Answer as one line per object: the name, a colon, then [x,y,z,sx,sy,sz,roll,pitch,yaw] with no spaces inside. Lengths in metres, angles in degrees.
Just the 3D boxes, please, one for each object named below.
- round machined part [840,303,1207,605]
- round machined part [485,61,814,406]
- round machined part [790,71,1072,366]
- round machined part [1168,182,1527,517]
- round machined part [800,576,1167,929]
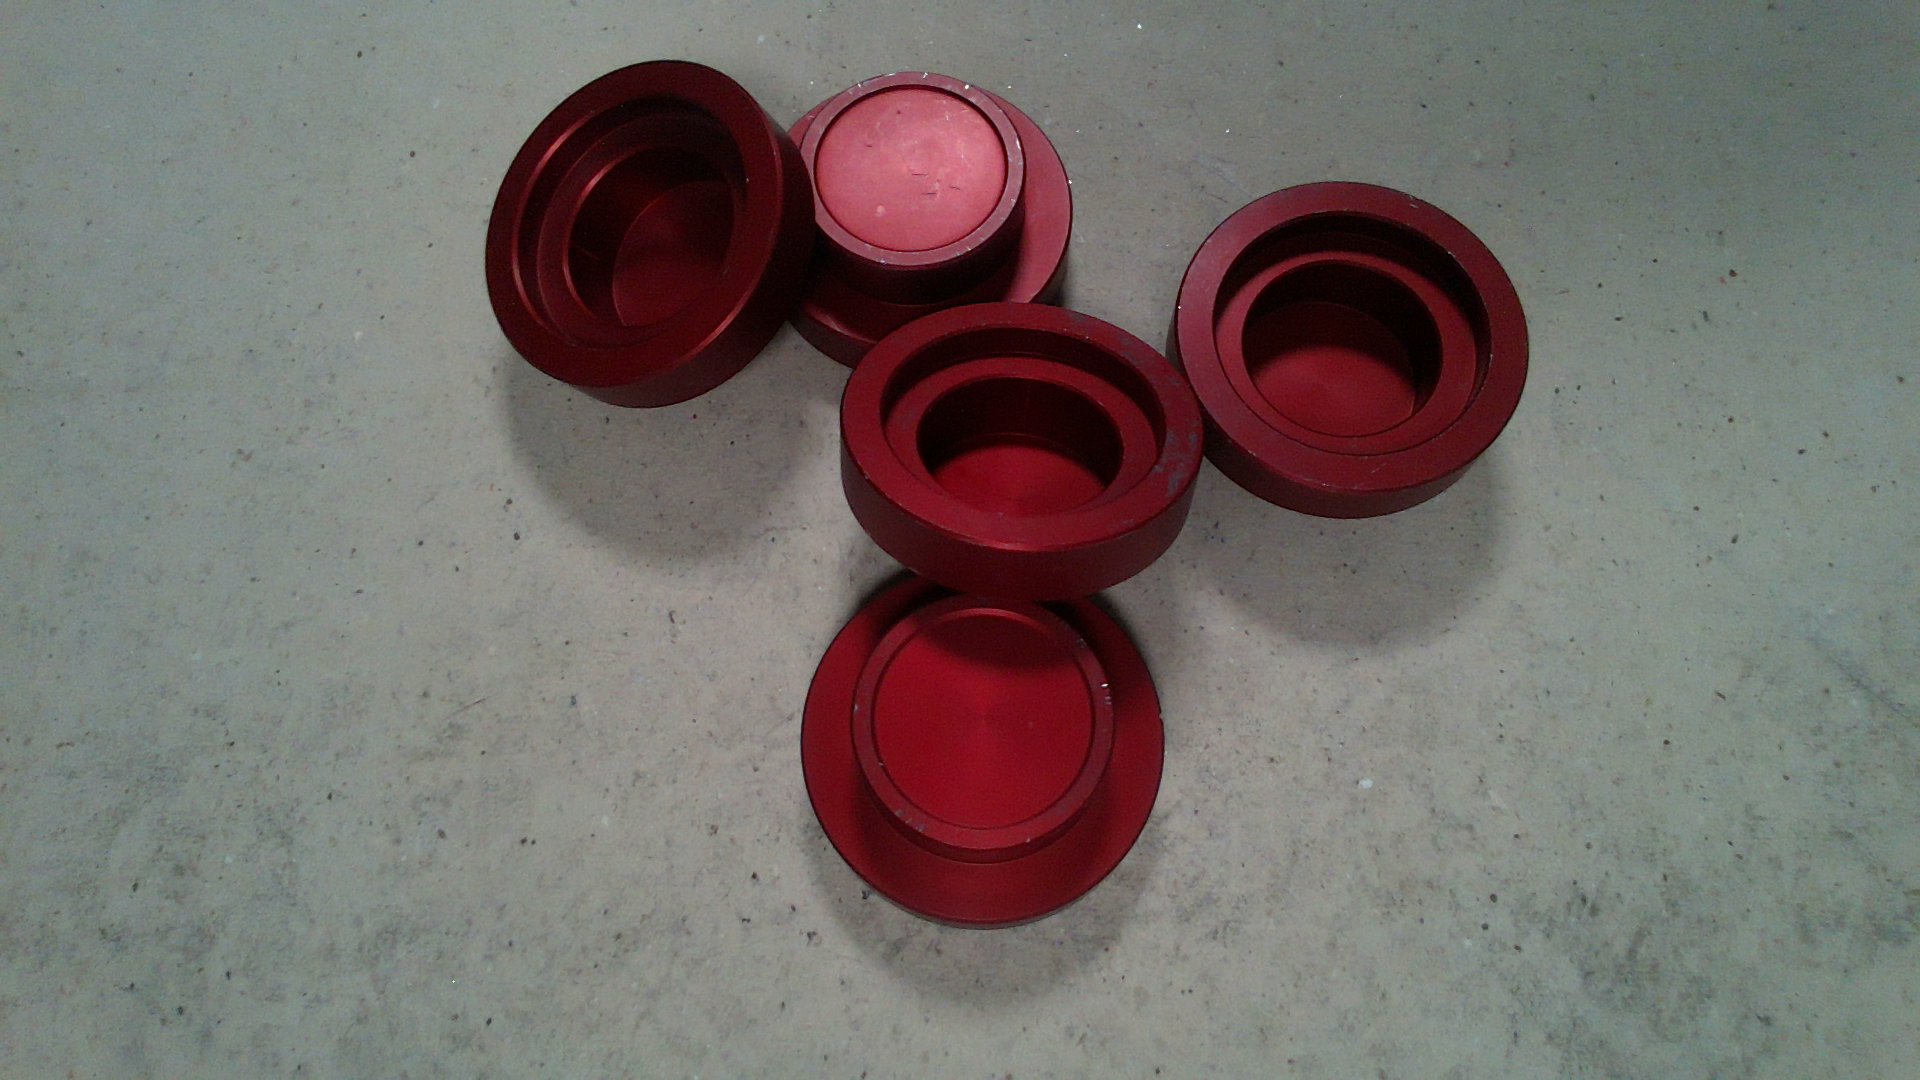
round machined part: [0.016,-0.019,0.382,0.098,0.042,0.098,2,47,-2]
round machined part: [-0.086,-0.086,0.405,0.098,0.042,0.098,-5,76,21]
round machined part: [-0.014,-0.103,0.423,0.098,0.042,0.098,0,70,0]
round machined part: [0.110,-0.052,0.405,0.098,0.042,0.098,0,70,0]
round machined part: [0.006,0.052,0.366,0.098,0.042,0.098,0,70,0]
